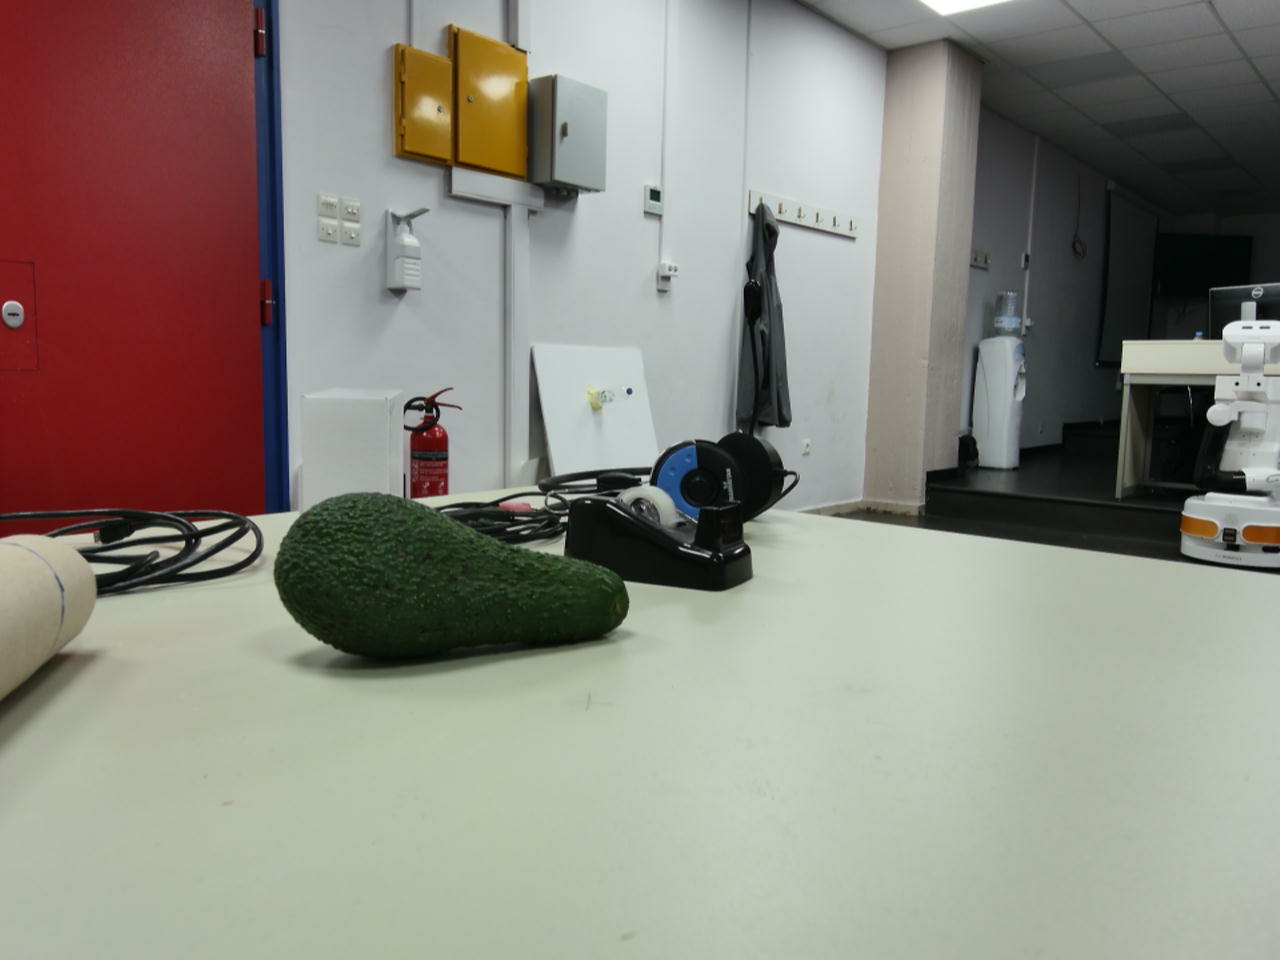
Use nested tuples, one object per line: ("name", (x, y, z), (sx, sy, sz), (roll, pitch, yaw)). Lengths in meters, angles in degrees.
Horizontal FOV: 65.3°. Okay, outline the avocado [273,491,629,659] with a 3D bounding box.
("avocado", (-0.074, 0.036, 0.408), (0.141, 0.067, 0.063), (-3, 5, -35))
